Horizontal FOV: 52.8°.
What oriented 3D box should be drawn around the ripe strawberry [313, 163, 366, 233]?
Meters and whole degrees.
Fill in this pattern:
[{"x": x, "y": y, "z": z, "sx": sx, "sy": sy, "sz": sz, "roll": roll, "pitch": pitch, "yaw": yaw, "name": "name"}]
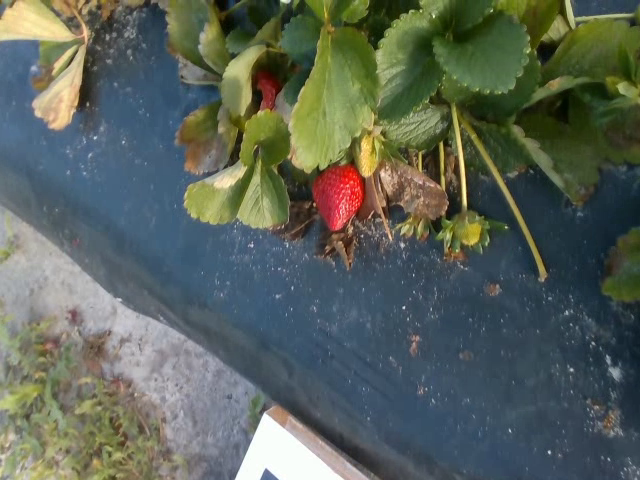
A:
[{"x": 0.006, "y": -0.018, "z": 0.287, "sx": 0.031, "sy": 0.030, "sz": 0.025, "roll": -9, "pitch": -19, "yaw": 31, "name": "ripe strawberry"}]
